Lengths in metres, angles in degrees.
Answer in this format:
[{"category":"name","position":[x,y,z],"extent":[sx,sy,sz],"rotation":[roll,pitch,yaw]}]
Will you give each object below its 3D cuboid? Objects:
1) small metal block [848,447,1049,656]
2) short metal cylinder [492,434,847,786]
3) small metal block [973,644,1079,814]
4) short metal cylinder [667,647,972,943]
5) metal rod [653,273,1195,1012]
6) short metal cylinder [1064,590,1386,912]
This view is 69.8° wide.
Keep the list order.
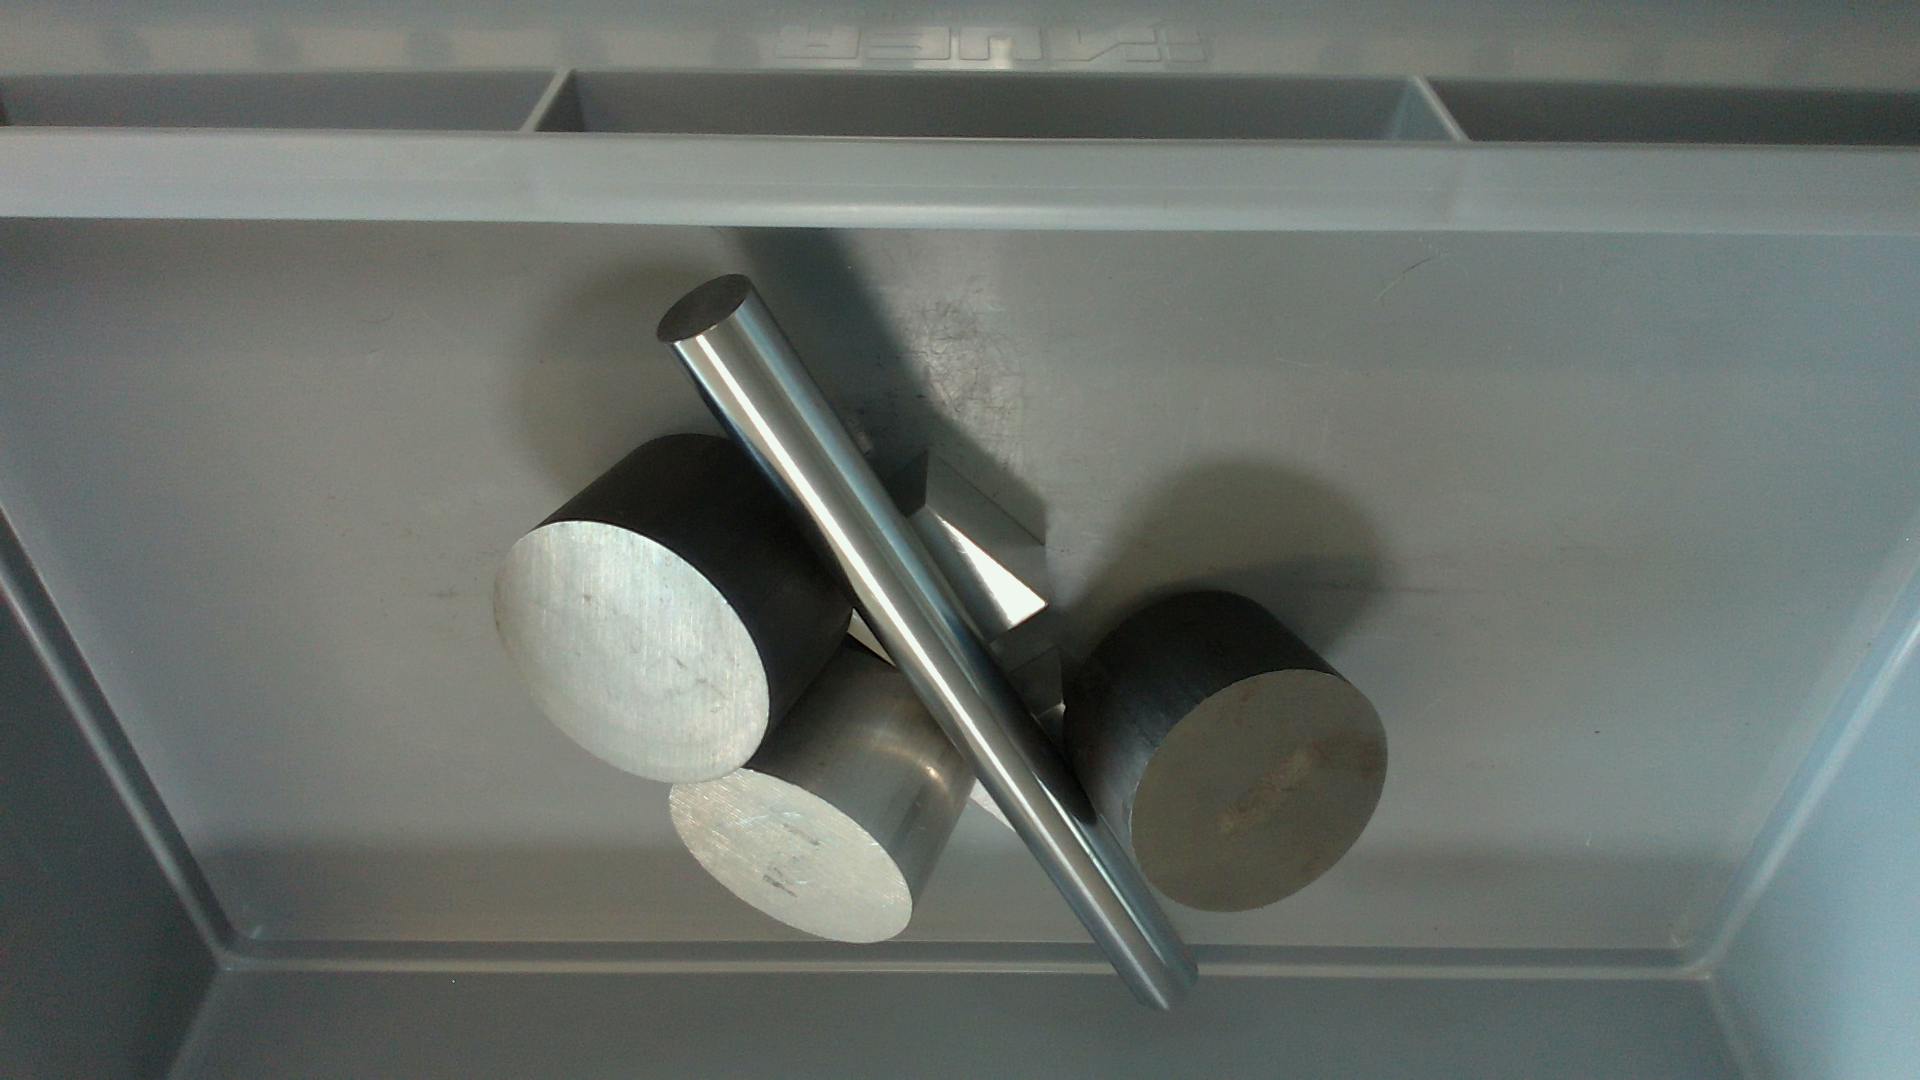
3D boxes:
[{"category":"small metal block","position":[-0.010,0.009,0.397],"extent":[0.050,0.025,0.050],"rotation":[-36,122,26]},{"category":"short metal cylinder","position":[-0.076,0.018,0.370],"extent":[0.080,0.050,0.080],"rotation":[11,123,18]},{"category":"small metal block","position":[0.028,0.068,0.447],"extent":[0.050,0.025,0.050],"rotation":[-33,123,25]},{"category":"short metal cylinder","position":[-0.041,0.078,0.420],"extent":[0.080,0.050,0.080],"rotation":[16,137,16]},{"category":"metal rod","position":[0.006,0.051,0.399],"extent":[0.025,0.025,0.301],"rotation":[-20,127,16]},{"category":"short metal cylinder","position":[0.077,0.062,0.408],"extent":[0.080,0.050,0.080],"rotation":[-8,116,-16]}]
